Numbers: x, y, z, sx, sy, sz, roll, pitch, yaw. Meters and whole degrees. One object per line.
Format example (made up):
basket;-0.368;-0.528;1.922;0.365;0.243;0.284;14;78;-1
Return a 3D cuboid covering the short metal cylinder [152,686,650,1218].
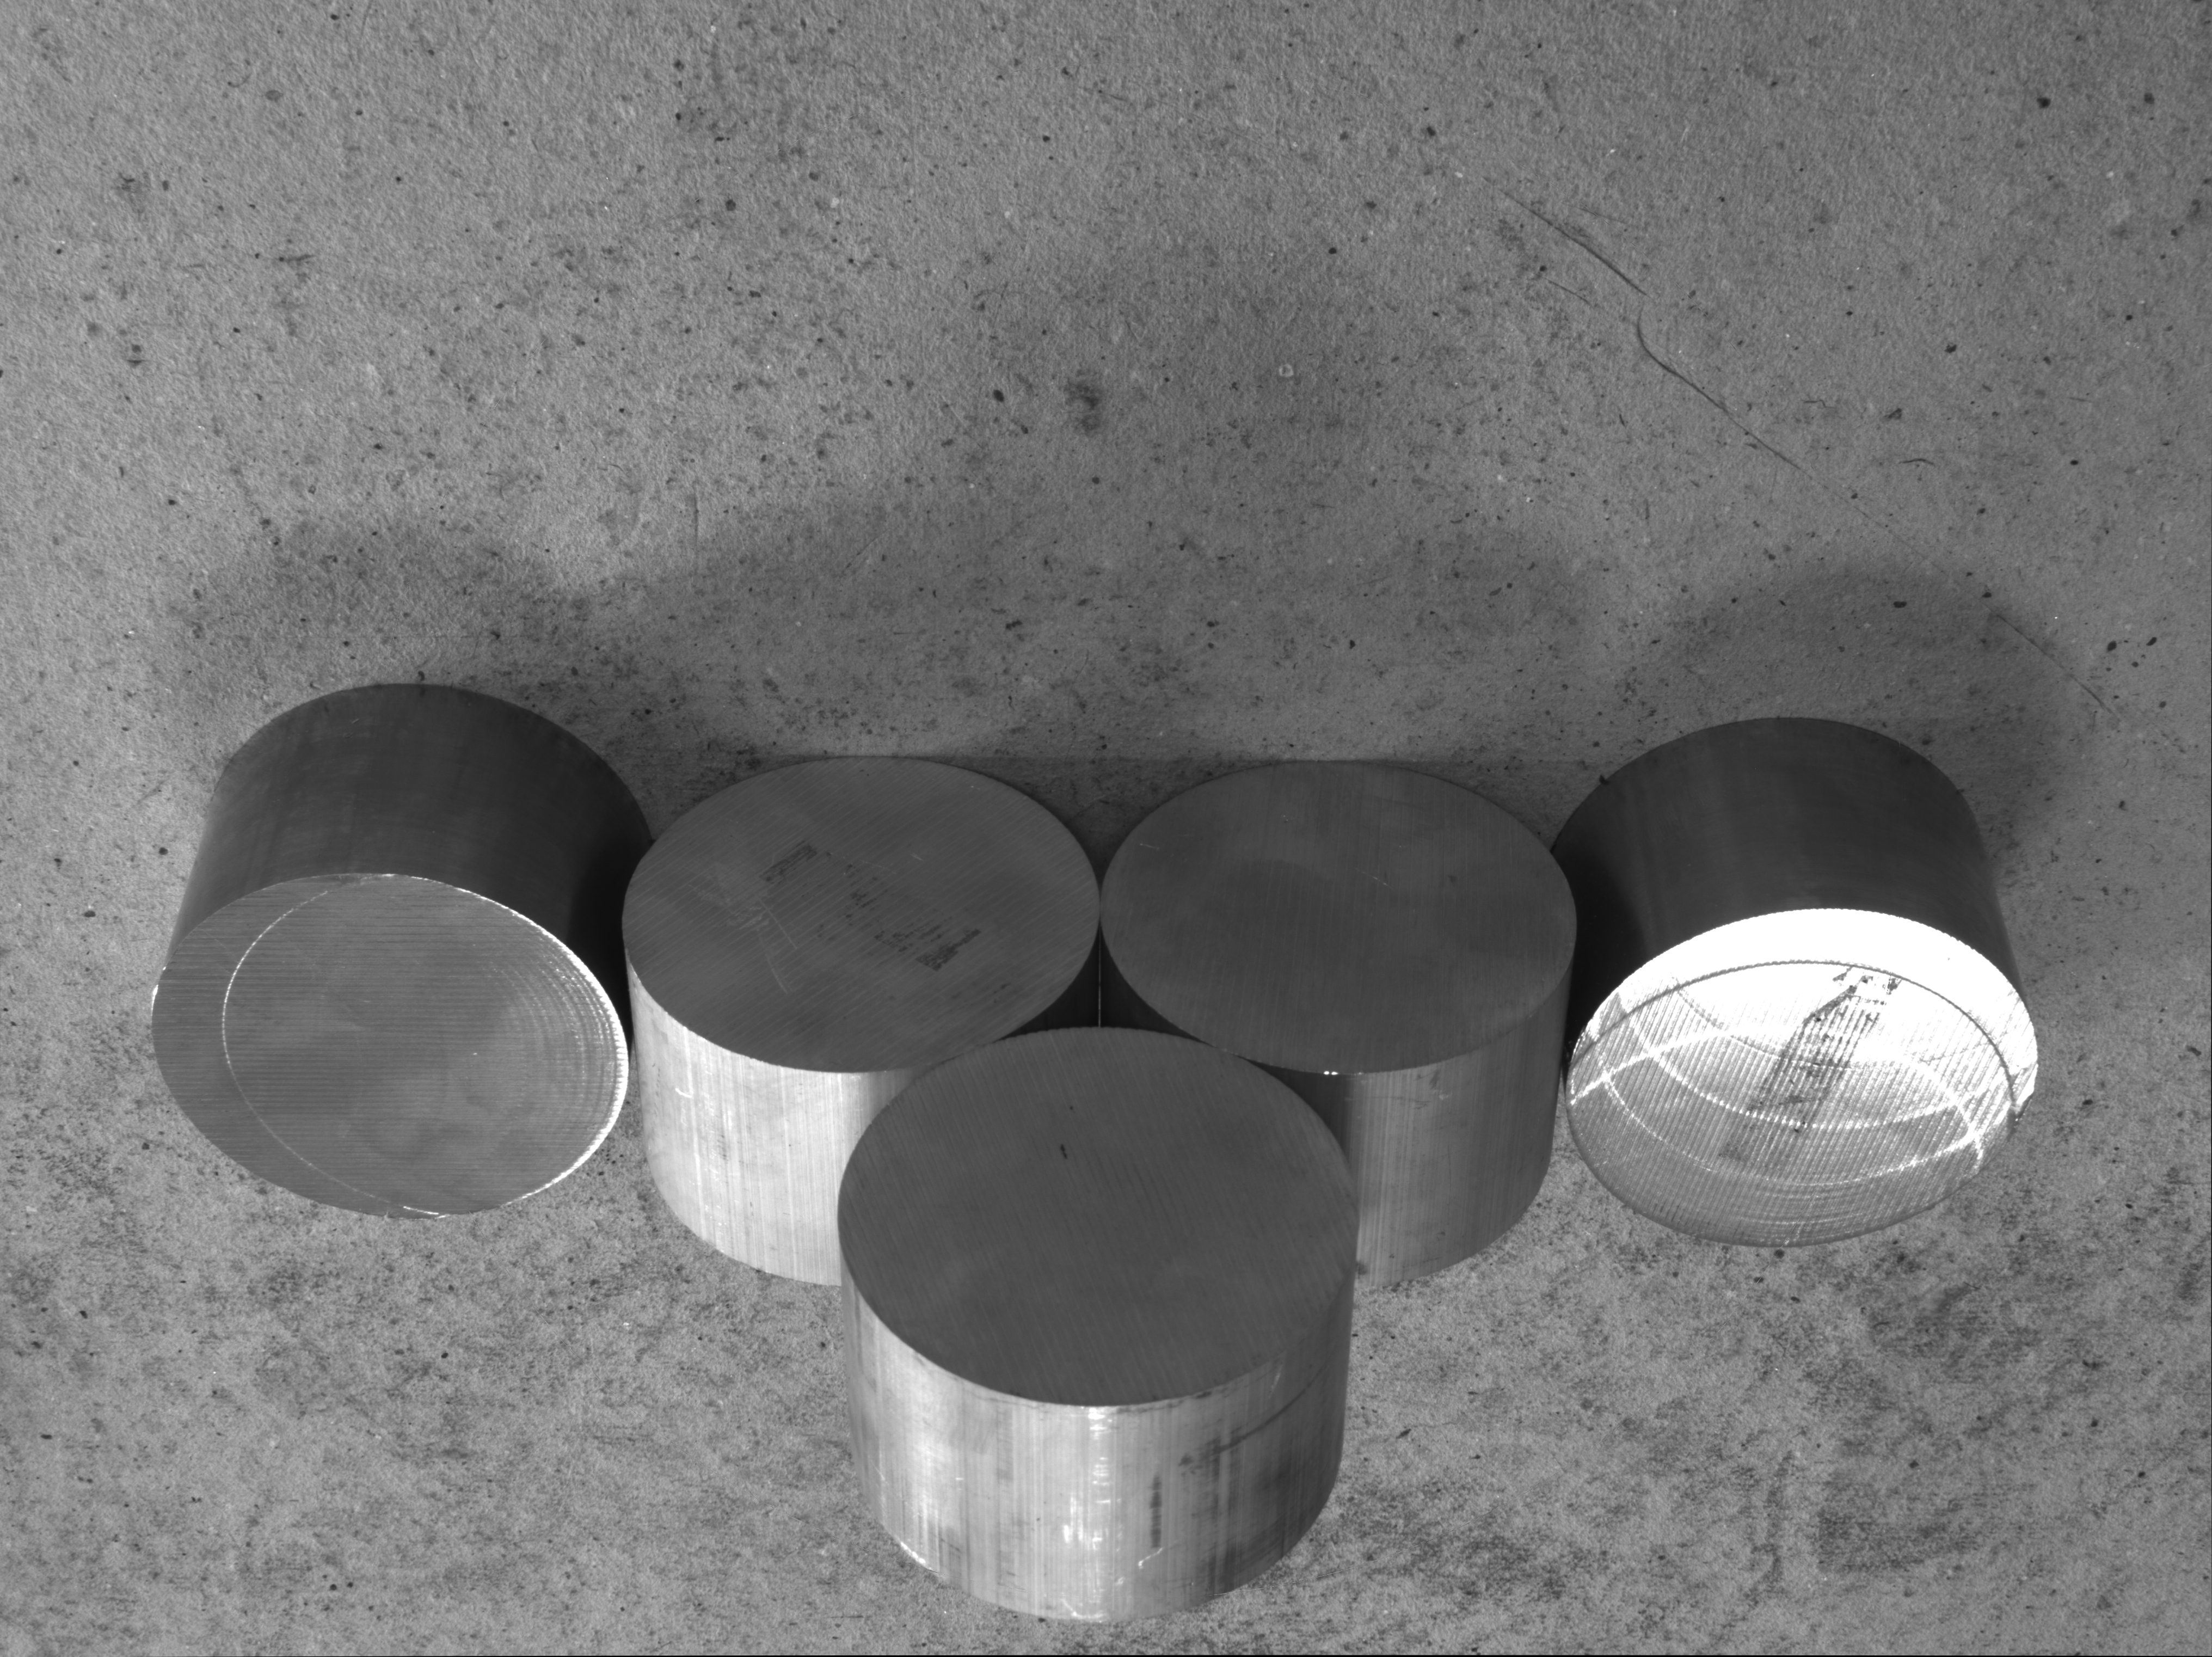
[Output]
short metal cylinder;-0.121;0.022;0.641;0.080;0.050;0.080;0;130;0

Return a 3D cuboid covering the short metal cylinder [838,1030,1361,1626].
short metal cylinder;-0.001;0.078;0.578;0.080;0.080;0.050;1;131;0

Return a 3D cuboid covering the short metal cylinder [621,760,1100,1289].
short metal cylinder;-0.041;0.033;0.631;0.080;0.080;0.050;0;130;0

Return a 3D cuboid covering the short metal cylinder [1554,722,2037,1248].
short metal cylinder;0.119;0.028;0.646;0.080;0.050;0.080;0;130;0

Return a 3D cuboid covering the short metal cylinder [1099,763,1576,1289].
short metal cylinder;0.039;0.033;0.632;0.080;0.080;0.050;0;129;0
